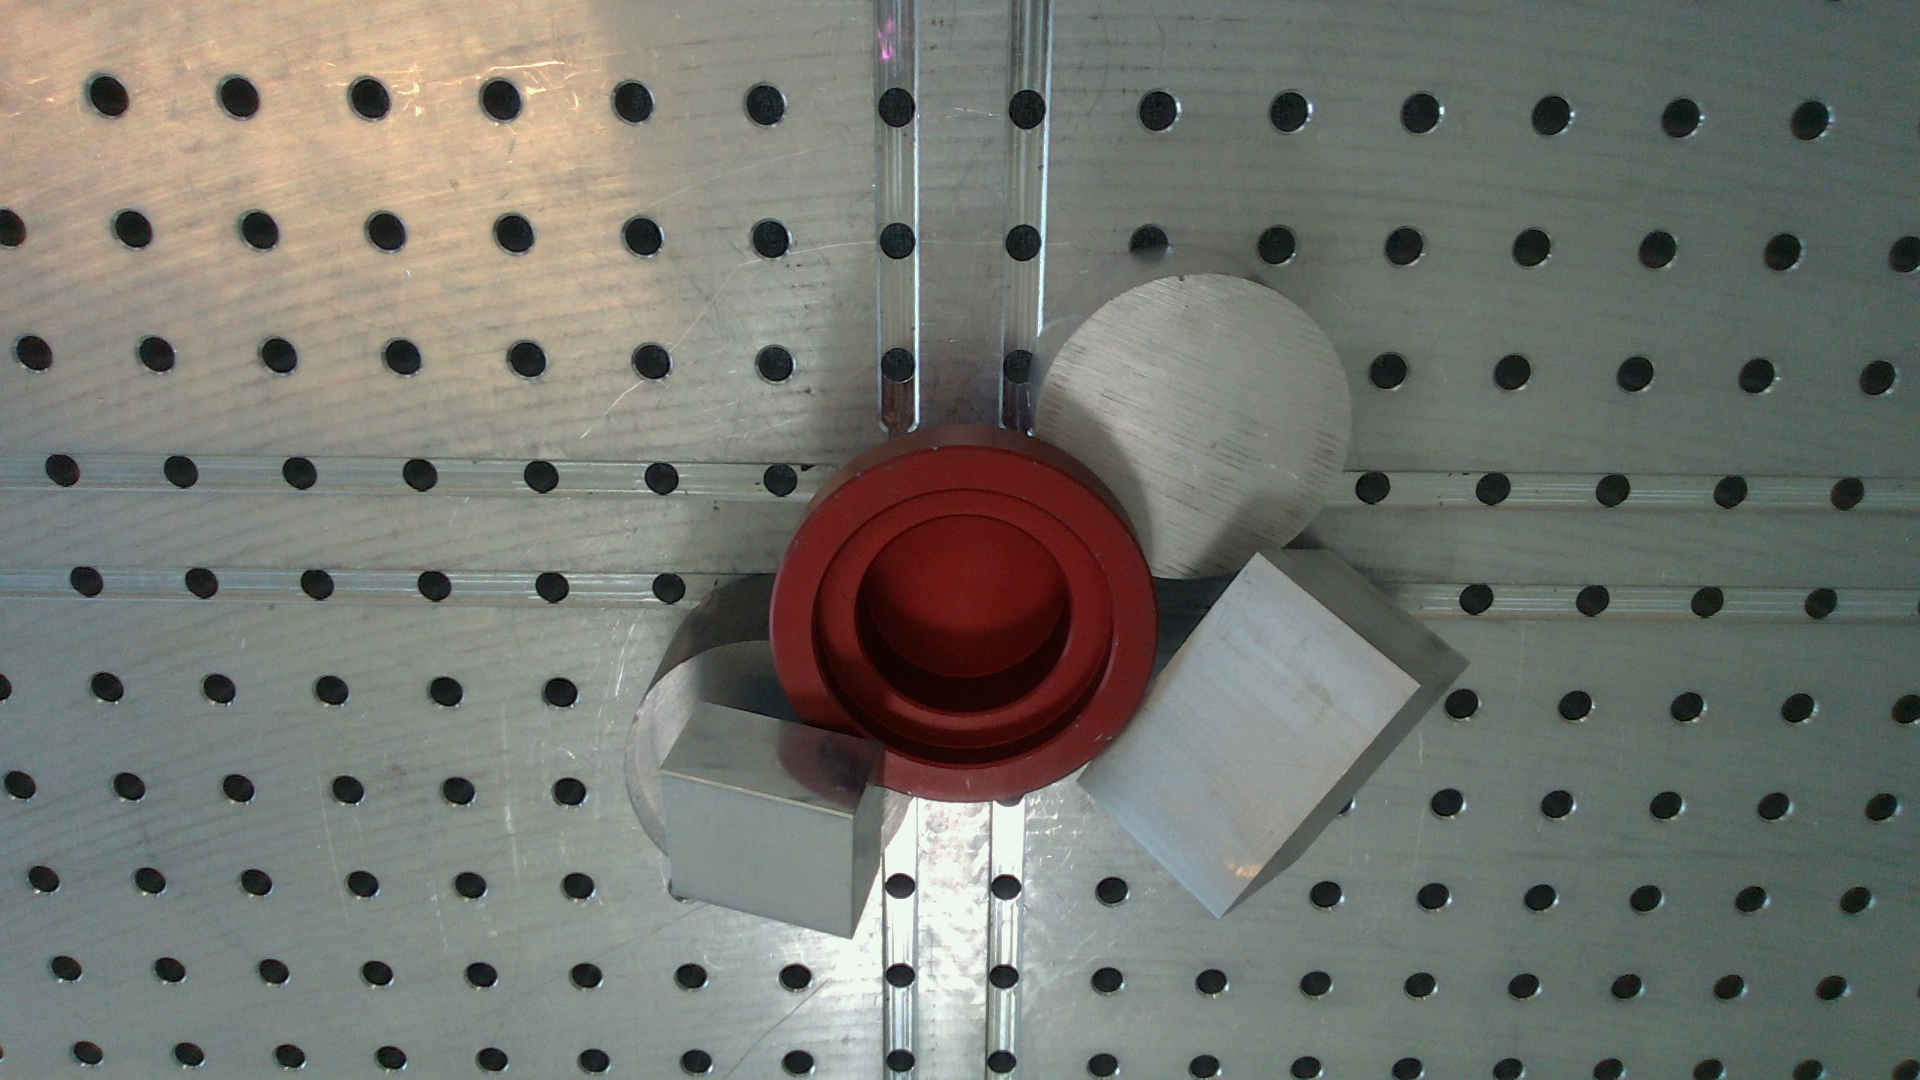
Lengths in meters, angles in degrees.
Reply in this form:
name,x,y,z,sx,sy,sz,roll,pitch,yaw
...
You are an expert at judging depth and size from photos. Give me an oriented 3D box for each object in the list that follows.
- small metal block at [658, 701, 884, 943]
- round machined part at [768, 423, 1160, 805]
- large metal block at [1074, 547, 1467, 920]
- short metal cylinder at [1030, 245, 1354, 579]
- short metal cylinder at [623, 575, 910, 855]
name,x,y,z,sx,sy,sz,roll,pitch,yaw
small metal block,-0.048,0.073,0.356,0.050,0.025,0.050,12,130,8
round machined part,0.001,0.016,0.362,0.098,0.042,0.098,0,110,0
large metal block,0.088,0.049,0.378,0.050,0.080,0.080,42,108,22
short metal cylinder,0.059,-0.036,0.370,0.080,0.050,0.080,0,110,0
short metal cylinder,-0.053,0.056,0.403,0.080,0.050,0.080,0,110,0
